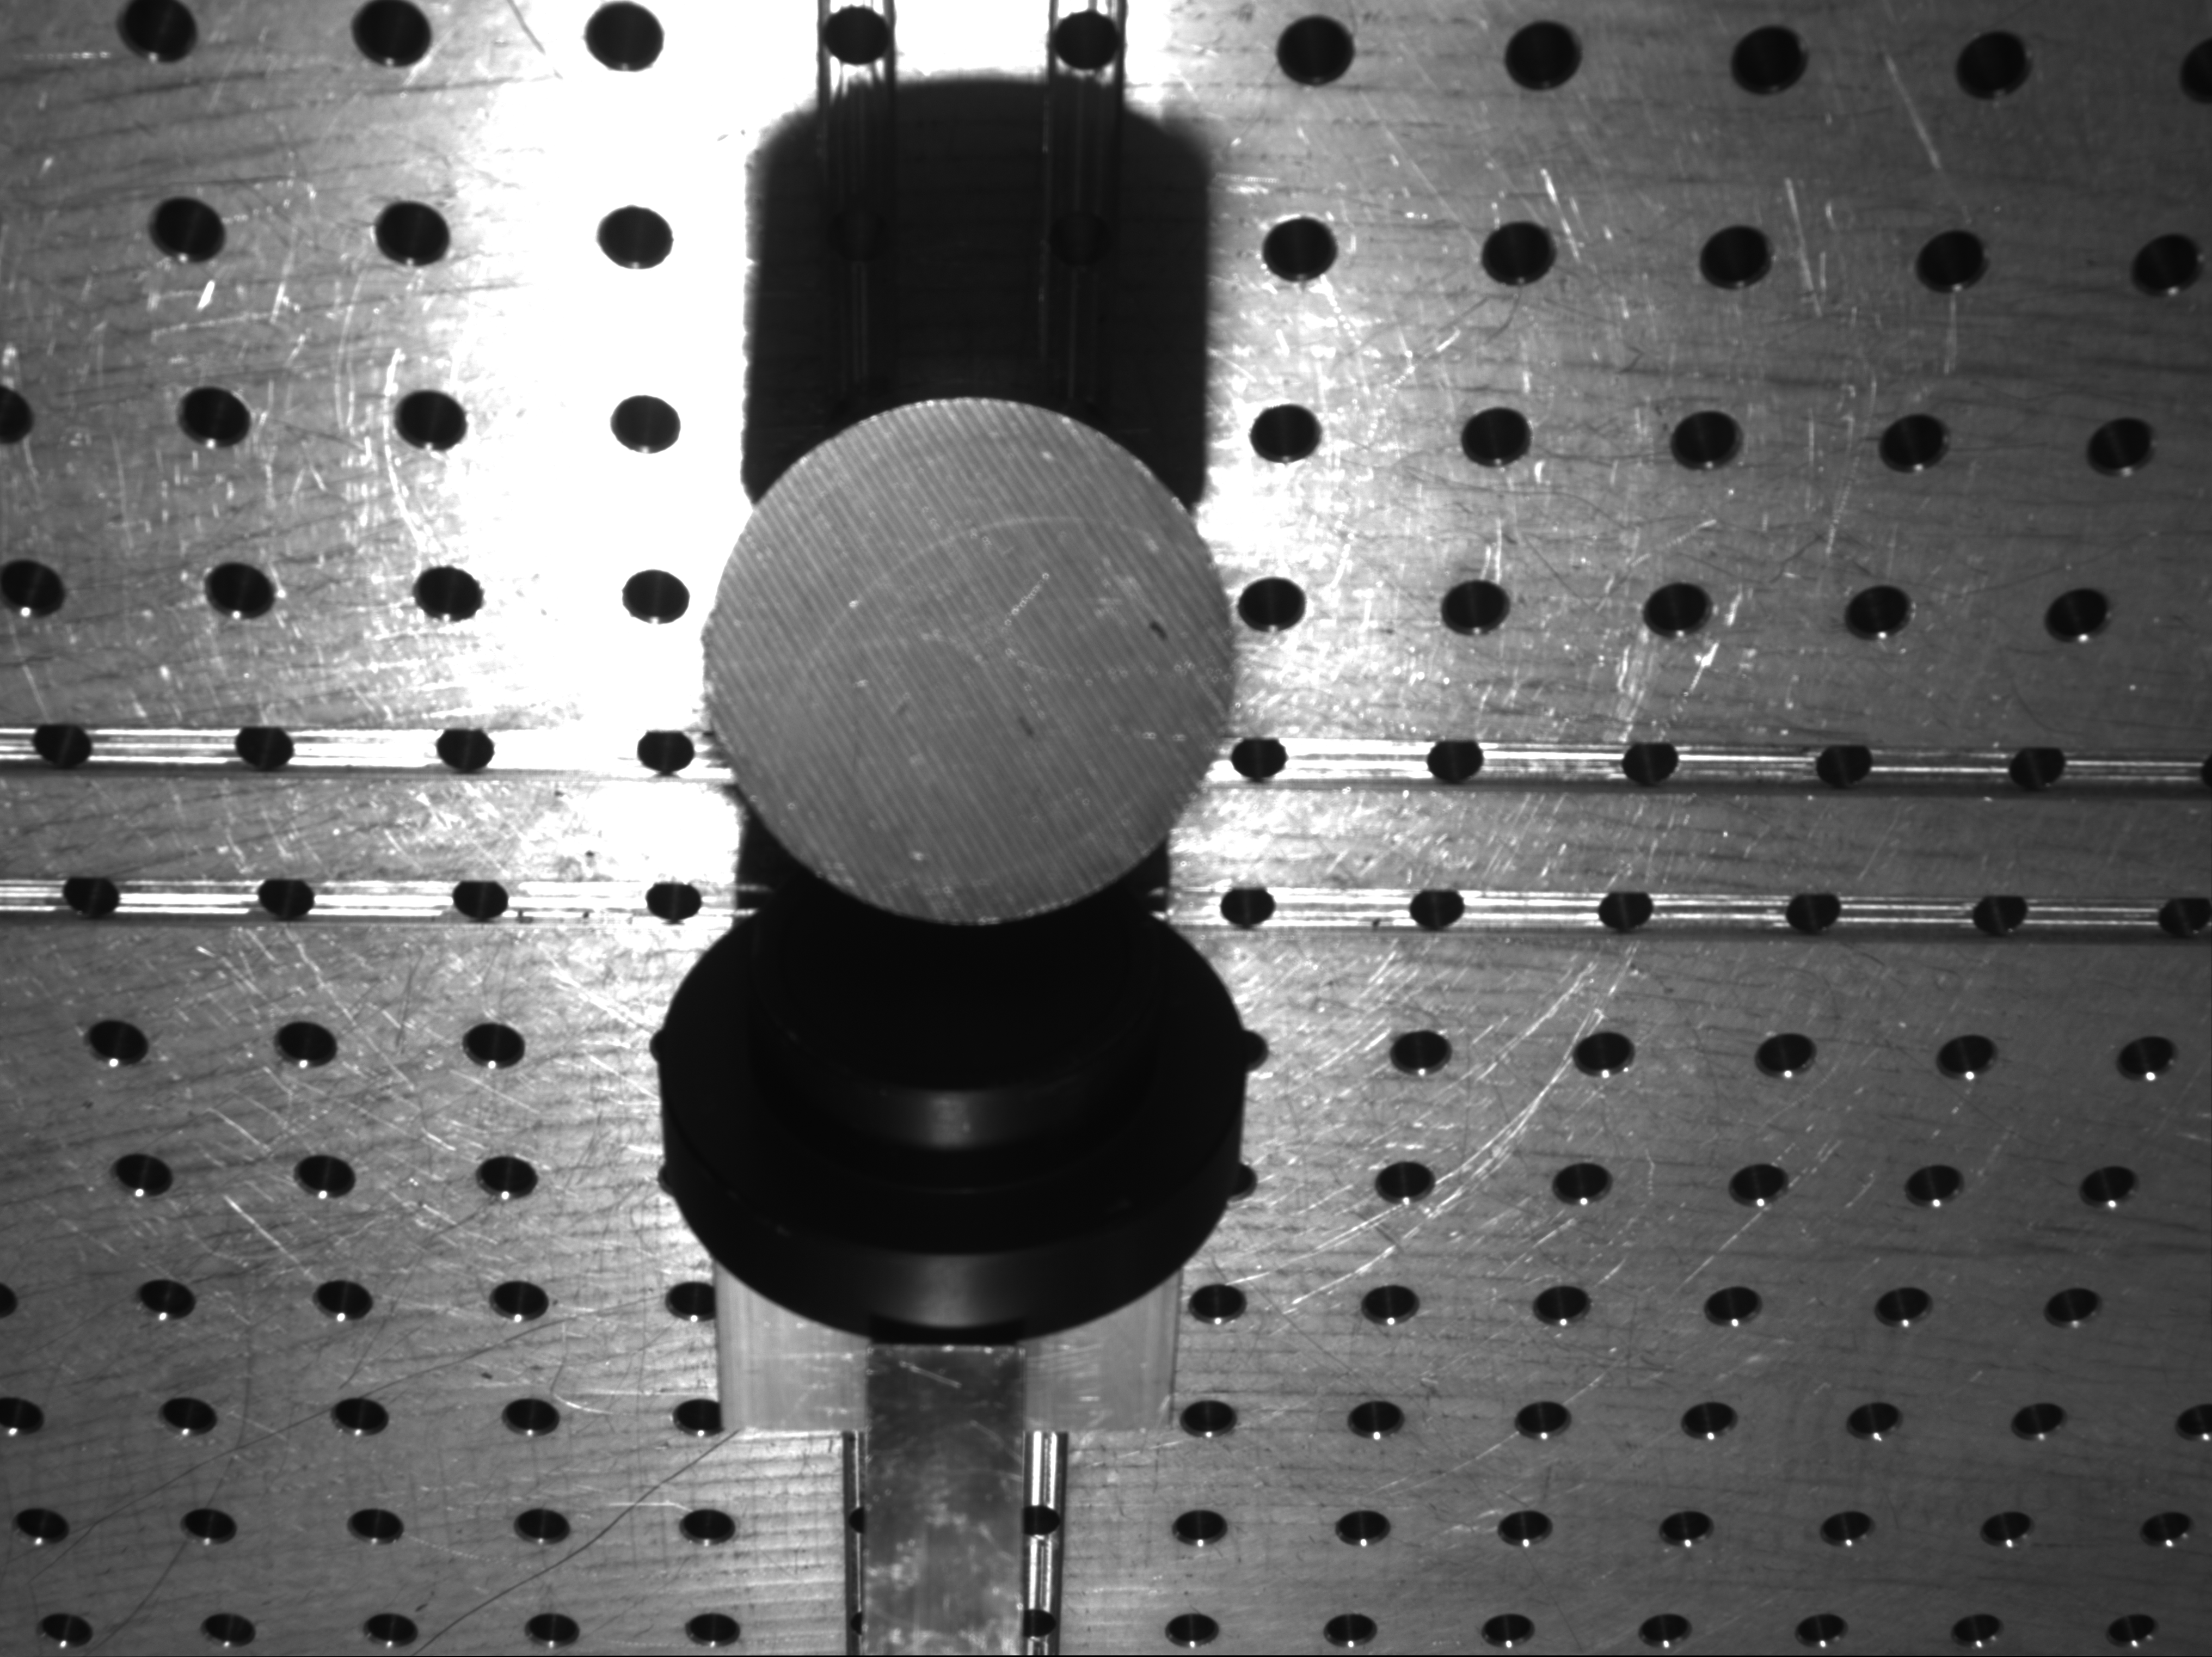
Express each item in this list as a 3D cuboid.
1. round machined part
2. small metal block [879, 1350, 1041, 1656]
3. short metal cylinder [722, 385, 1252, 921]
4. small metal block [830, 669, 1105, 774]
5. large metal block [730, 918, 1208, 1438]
[{"bbox_3d":[-0.022,0.037,0.610,0.098,0.098,0.042,1,130,-2],"label":"round machined part"},{"bbox_3d":[-0.024,0.112,0.600,0.025,0.050,0.050,1,168,-3],"label":"small metal block"},{"bbox_3d":[-0.019,-0.030,0.578,0.080,0.050,0.080,0,100,-2],"label":"short metal cylinder"},{"bbox_3d":[-0.023,-0.012,0.629,0.050,0.025,0.050,1,130,-2],"label":"small metal block"},{"bbox_3d":[-0.024,0.062,0.655,0.080,0.080,0.050,1,130,-2],"label":"large metal block"}]
